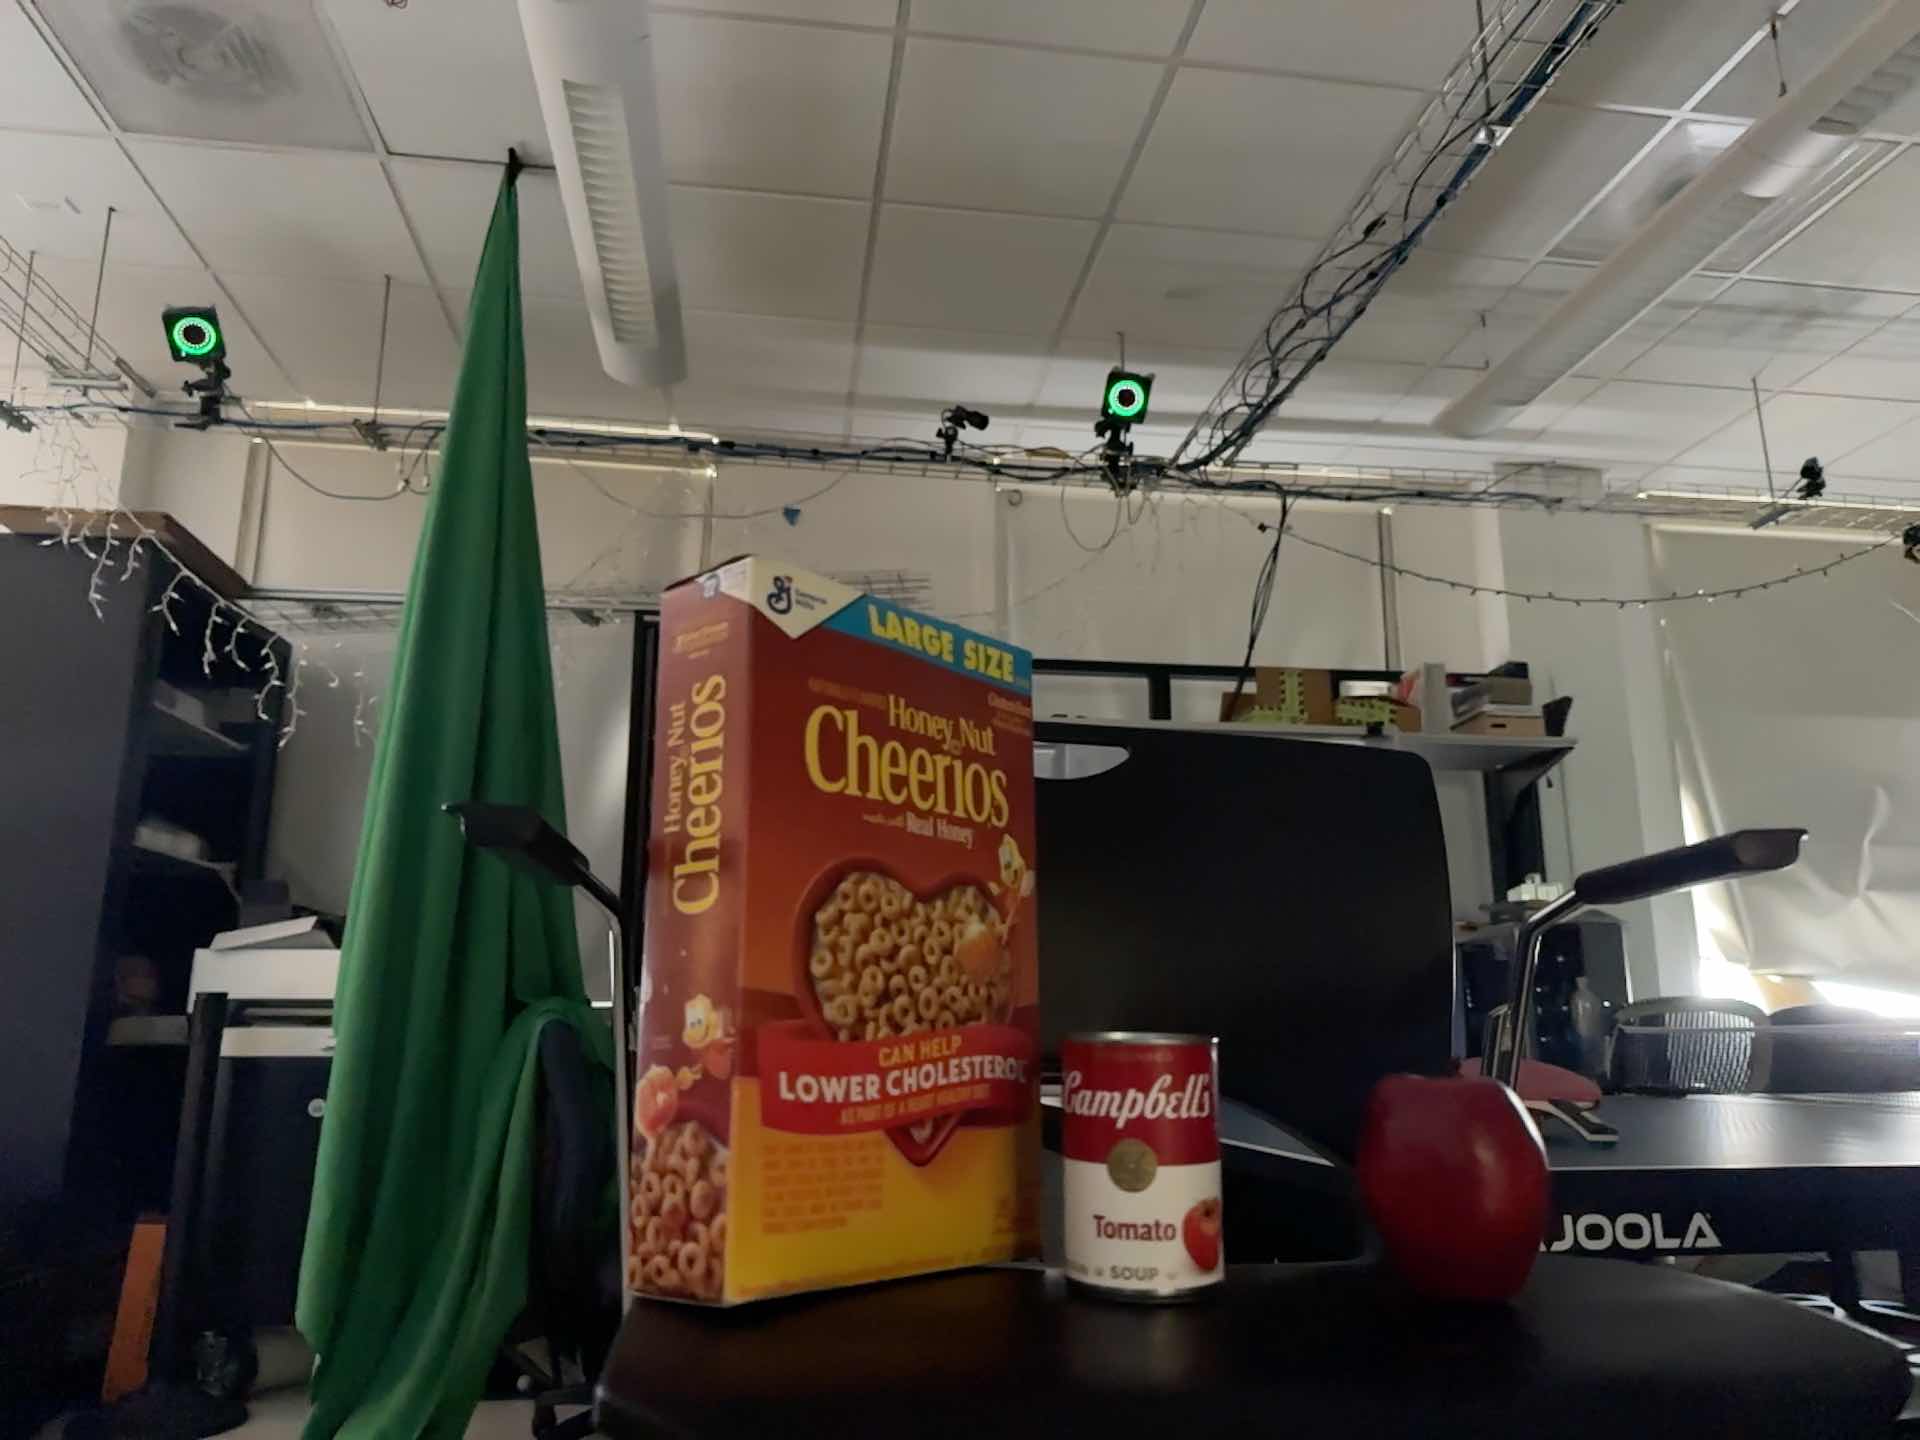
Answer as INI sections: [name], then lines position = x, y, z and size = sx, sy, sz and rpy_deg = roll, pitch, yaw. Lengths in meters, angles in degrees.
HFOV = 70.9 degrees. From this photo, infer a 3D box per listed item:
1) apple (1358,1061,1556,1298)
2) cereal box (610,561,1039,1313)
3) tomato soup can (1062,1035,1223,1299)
[apple]
position = 0.207, 0.189, 0.563
size = 0.079, 0.093, 0.079
rpy_deg = 0, -6, 0
[cereal box]
position = -0.052, 0.097, 0.632
size = 0.065, 0.297, 0.195
rpy_deg = -10, -16, 41
[tomato soup can]
position = 0.078, 0.188, 0.579
size = 0.067, 0.102, 0.067
rpy_deg = 1, -10, 0
